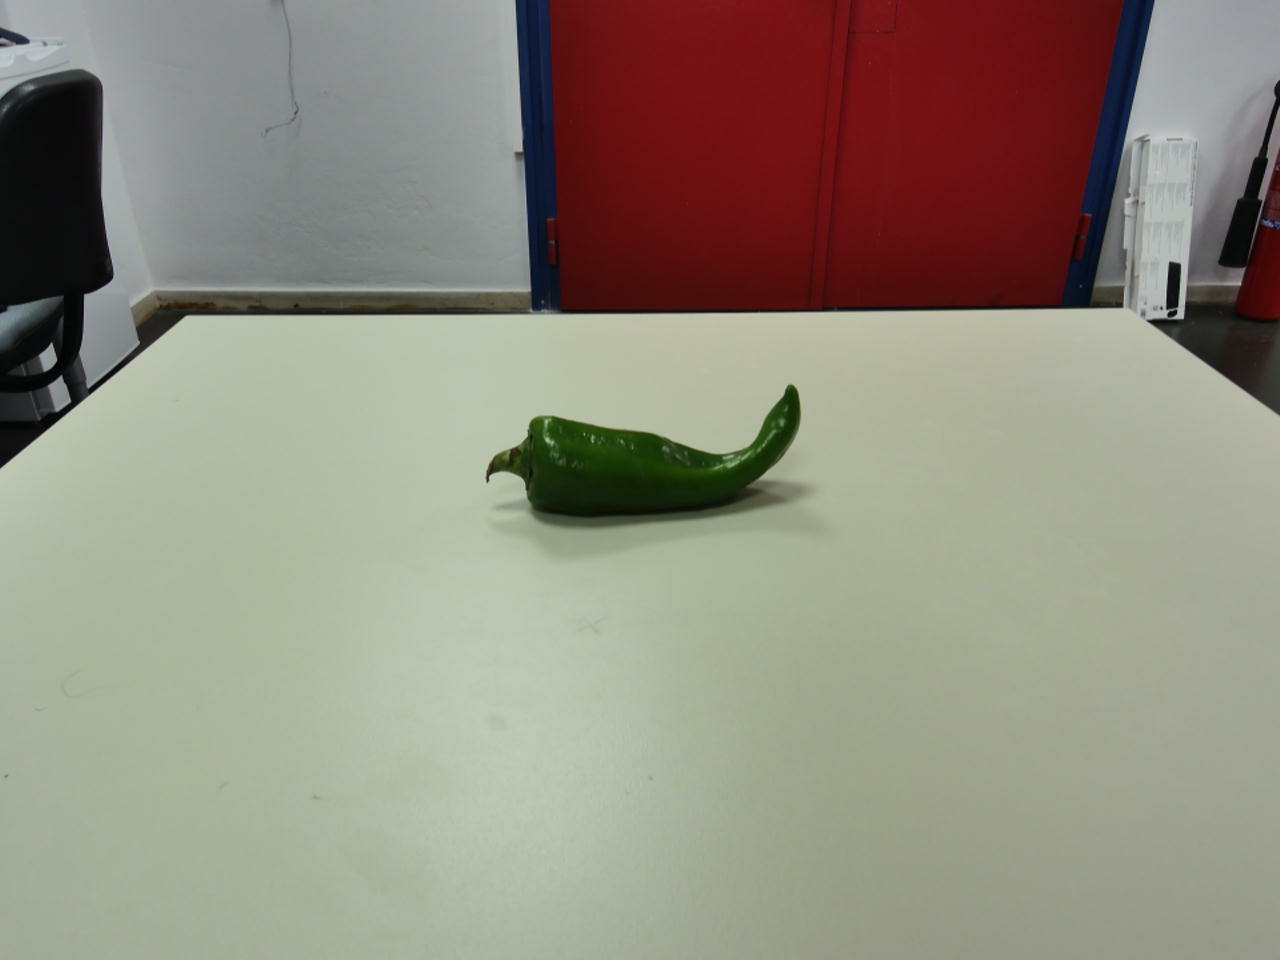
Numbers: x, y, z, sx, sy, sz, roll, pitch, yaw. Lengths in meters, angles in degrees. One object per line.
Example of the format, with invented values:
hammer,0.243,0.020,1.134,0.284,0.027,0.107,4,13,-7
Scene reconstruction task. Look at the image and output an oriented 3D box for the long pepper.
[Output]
long pepper,0.003,-0.017,0.549,0.175,0.065,0.058,-1,26,-2
